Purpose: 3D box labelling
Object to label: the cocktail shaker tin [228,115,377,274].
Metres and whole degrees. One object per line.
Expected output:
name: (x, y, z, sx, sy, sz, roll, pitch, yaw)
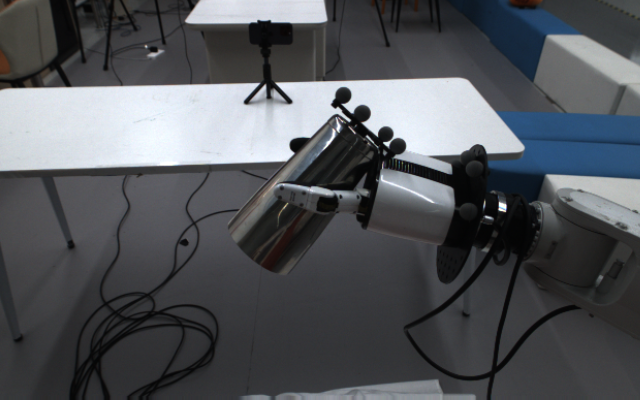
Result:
cocktail shaker tin: (-0.012, -0.013, 0.541, 0.093, 0.170, 0.093, 41, 12, -11)
